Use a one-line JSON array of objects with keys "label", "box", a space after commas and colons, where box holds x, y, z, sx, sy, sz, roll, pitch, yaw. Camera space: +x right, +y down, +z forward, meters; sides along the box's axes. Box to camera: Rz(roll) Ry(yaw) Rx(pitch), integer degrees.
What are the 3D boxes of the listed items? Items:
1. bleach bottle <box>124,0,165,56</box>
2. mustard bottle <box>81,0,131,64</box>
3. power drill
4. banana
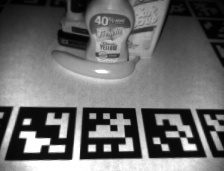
[{"label": "bleach bottle", "box": [0.057, -0.177, 0.442, 0.103, 0.251, 0.067, 3, 47, -4]}, {"label": "mustard bottle", "box": [-0.013, -0.118, 0.419, 0.096, 0.192, 0.058, 2, 53, -6]}, {"label": "power drill", "box": [-0.054, -0.188, 0.441, 0.184, 0.187, 0.057, 11, 51, 1]}, {"label": "banana", "box": [-0.039, -0.043, 0.466, 0.197, 0.039, 0.074, 4, 54, -1]}]
